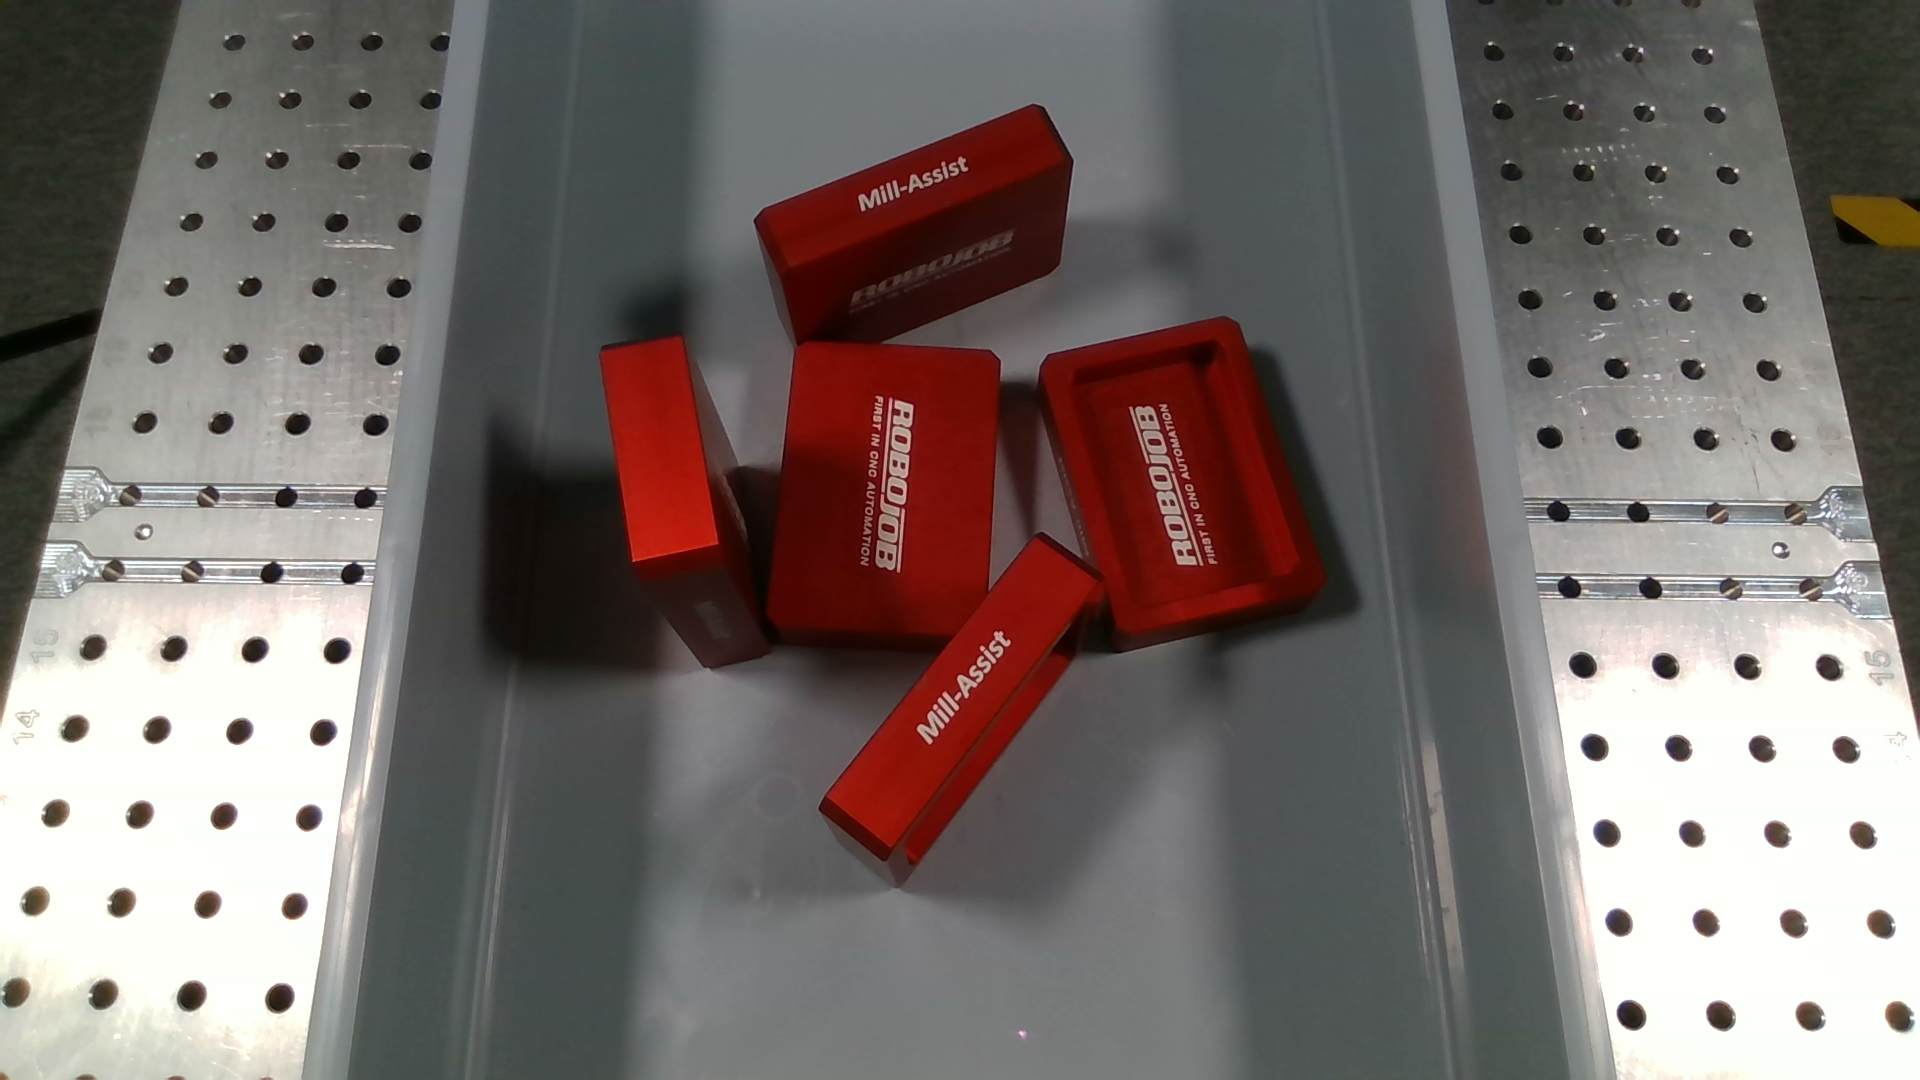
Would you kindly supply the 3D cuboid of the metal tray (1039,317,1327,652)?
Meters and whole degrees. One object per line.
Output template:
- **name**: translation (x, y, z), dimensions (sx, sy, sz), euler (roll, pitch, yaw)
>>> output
- **metal tray**: translation (0.093, -0.025, 0.593), dimensions (0.090, 0.030, 0.130), euler (-13, 71, -5)

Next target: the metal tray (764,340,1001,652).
- **metal tray**: translation (-0.031, -0.019, 0.590), dimensions (0.090, 0.030, 0.130), euler (3, 70, 1)

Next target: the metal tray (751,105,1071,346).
- **metal tray**: translation (-0.020, -0.129, 0.598), dimensions (0.130, 0.090, 0.030), euler (-23, 73, -8)

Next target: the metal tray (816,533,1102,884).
- **metal tray**: translation (0.002, 0.067, 0.527), dimensions (0.030, 0.090, 0.130), euler (36, 74, 13)

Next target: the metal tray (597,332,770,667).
- **metal tray**: translation (-0.104, -0.011, 0.533), dimensions (0.030, 0.130, 0.090), euler (-12, 71, -4)
